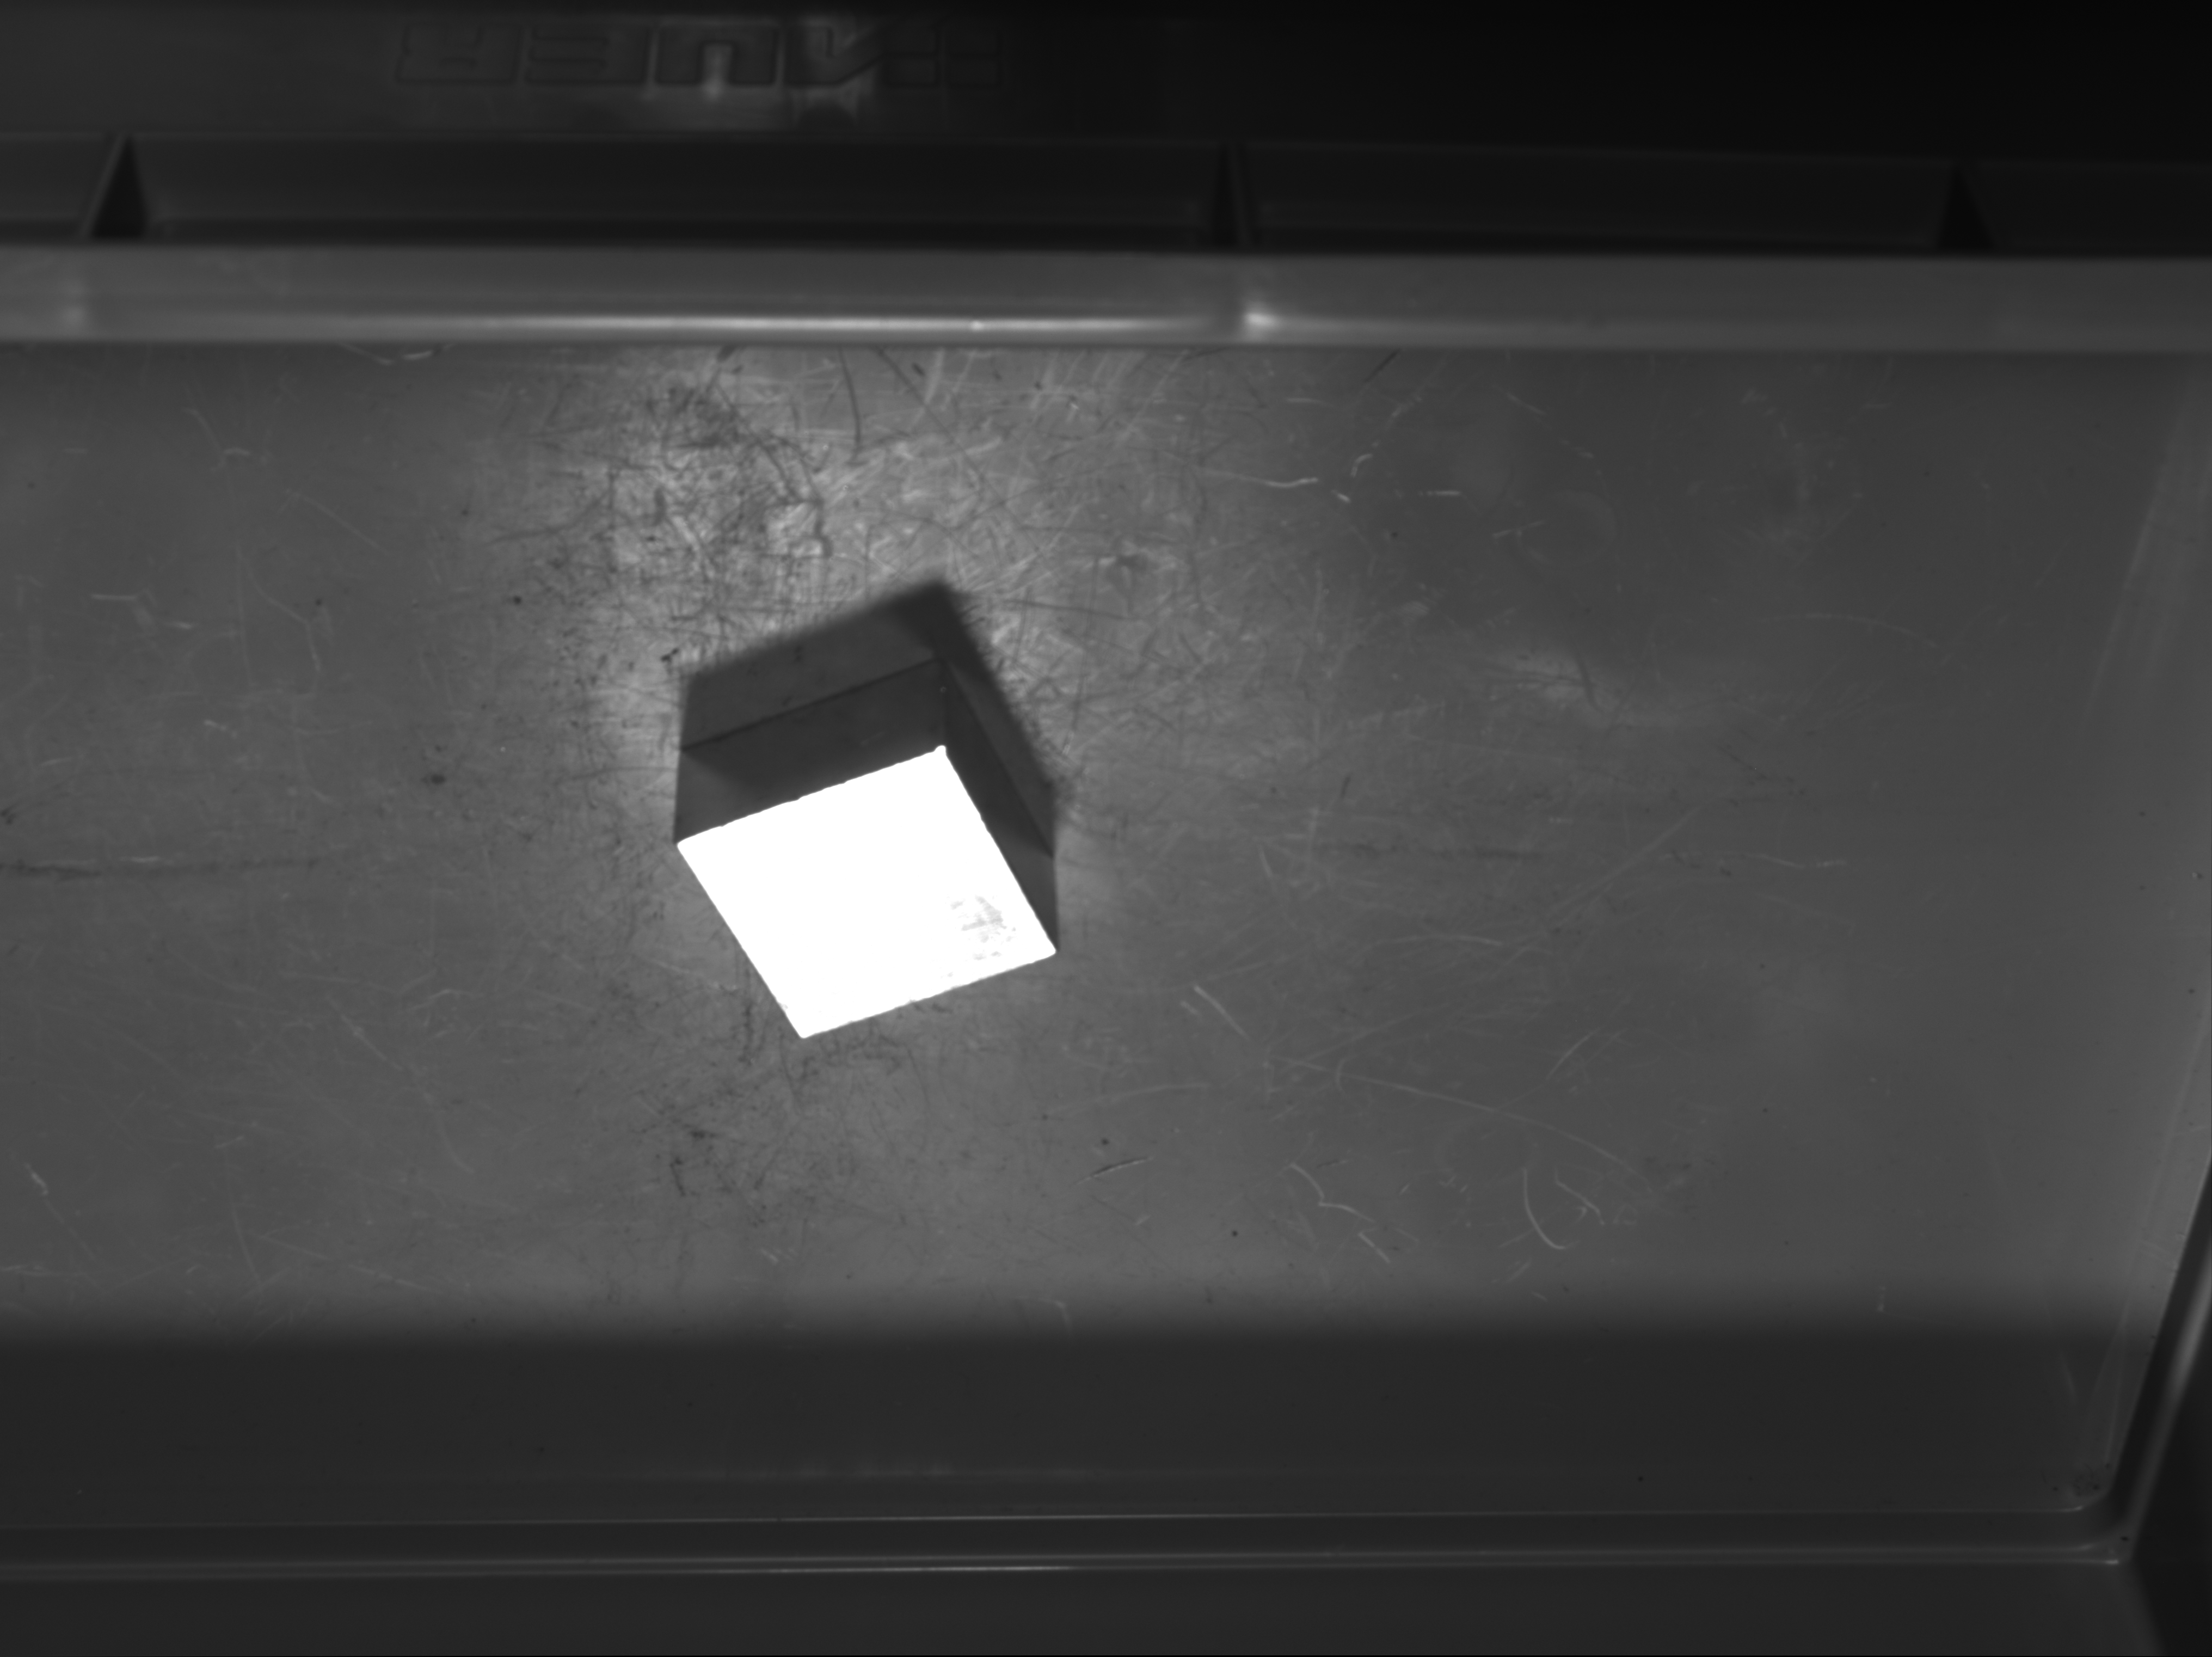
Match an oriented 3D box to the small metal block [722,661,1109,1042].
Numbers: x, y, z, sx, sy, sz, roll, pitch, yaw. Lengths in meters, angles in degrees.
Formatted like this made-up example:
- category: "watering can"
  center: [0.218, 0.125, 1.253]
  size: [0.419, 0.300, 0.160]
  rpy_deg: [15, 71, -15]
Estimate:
- category: "small metal block"
  center: [-0.032, 0.005, 0.637]
  size: [0.050, 0.025, 0.050]
  rpy_deg: [-18, 128, 13]
